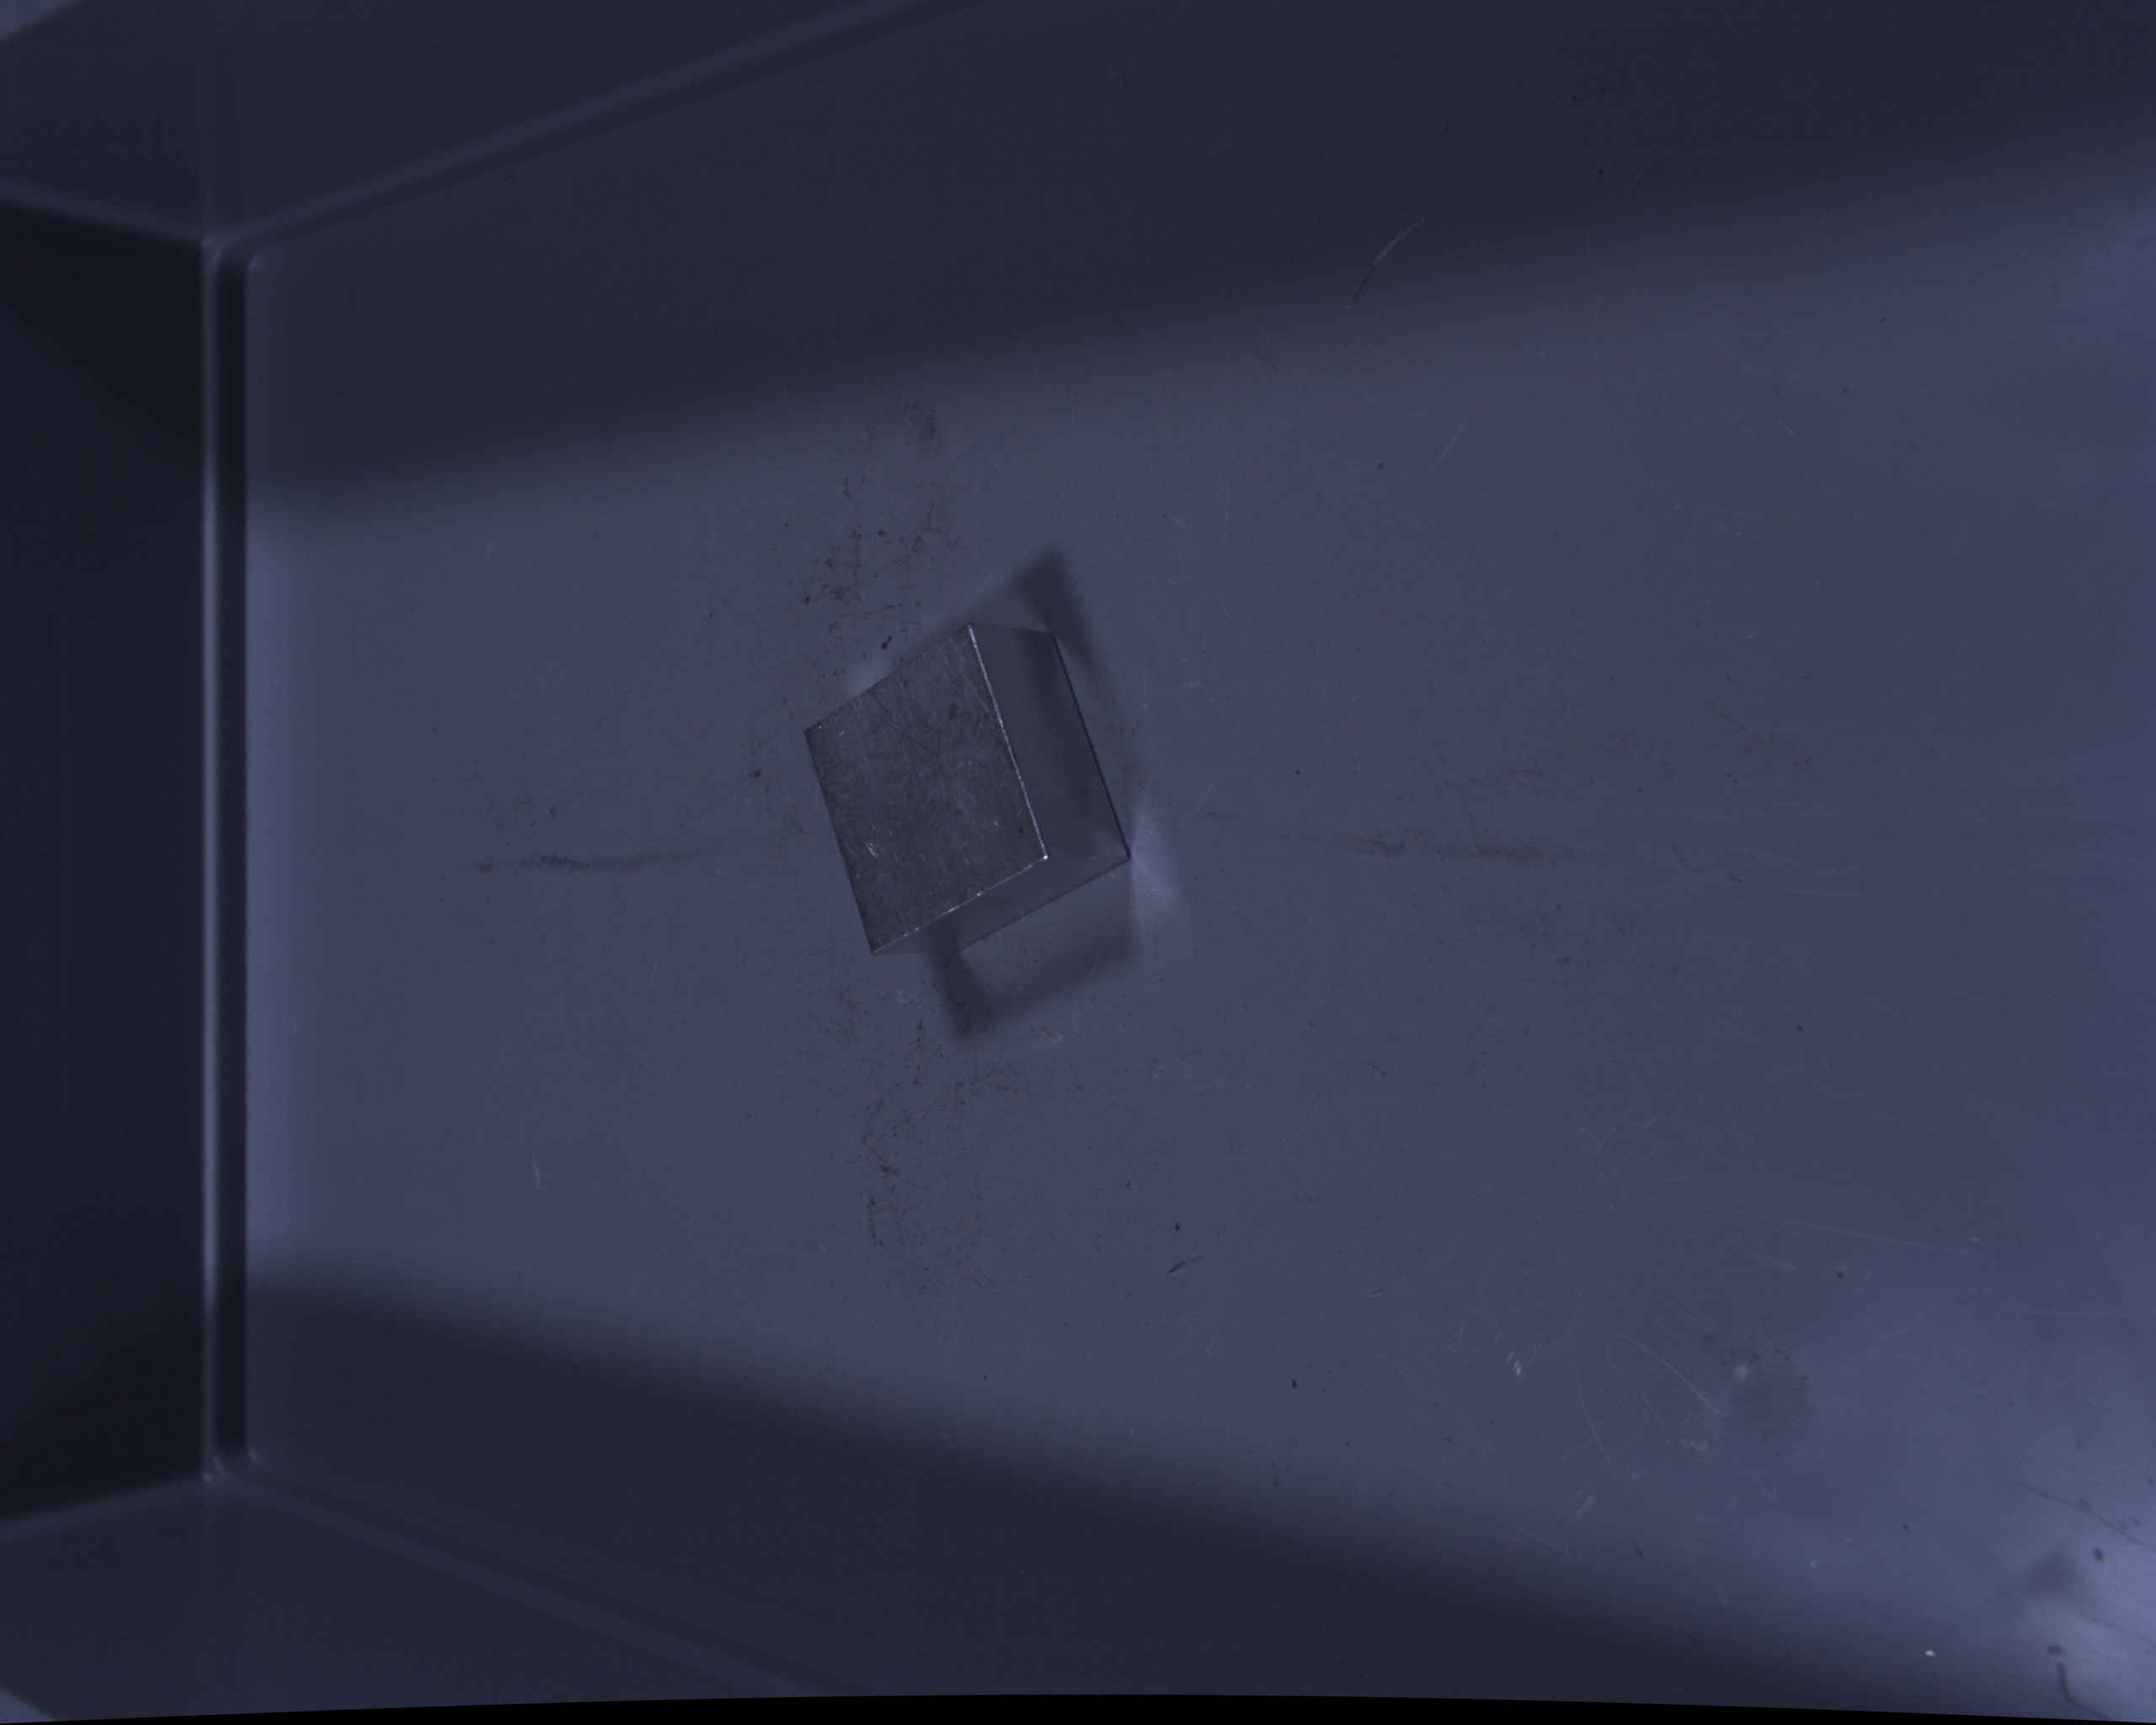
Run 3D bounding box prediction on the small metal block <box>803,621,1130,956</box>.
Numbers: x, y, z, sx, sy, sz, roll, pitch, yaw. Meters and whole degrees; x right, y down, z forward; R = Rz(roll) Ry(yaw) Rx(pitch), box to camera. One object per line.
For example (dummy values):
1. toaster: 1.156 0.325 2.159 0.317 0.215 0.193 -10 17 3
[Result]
1. small metal block: -0.023 -0.014 0.419 0.050 0.025 0.050 -29 72 36
